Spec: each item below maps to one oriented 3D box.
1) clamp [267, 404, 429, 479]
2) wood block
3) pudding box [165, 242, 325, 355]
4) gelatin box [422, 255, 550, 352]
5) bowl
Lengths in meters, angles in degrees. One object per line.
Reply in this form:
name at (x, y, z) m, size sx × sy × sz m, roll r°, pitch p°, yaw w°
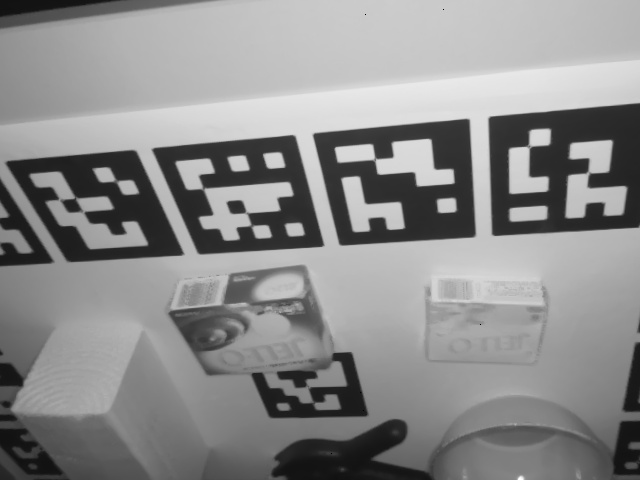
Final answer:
clamp at (0.023, 0.215, 0.703) m, size 0.164 × 0.037 × 0.121 m, roll -10°, pitch 128°, yaw 17°
wood block at (-0.201, 0.160, 0.640) m, size 0.089 × 0.092 × 0.204 m, roll 1°, pitch 129°, yaw 9°
pudding box at (-0.057, 0.049, 0.565) m, size 0.113 × 0.039 × 0.089 m, roll -4°, pitch 125°, yaw 8°
gelatin box at (0.128, 0.051, 0.546) m, size 0.089 × 0.030 × 0.072 m, roll 4°, pitch 128°, yaw 4°
bowl at (0.175, 0.185, 0.644) m, size 0.161 × 0.056 × 0.160 m, roll 4°, pitch 127°, yaw 6°
